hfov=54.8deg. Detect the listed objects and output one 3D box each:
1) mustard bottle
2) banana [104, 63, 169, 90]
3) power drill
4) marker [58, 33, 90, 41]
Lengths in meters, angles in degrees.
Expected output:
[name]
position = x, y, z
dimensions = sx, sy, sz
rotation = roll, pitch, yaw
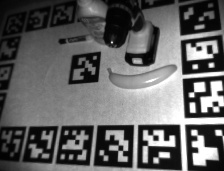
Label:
[mustard bottle]
position = -0.047, -0.189, 0.615
dimensions = 0.095, 0.193, 0.058
rotation = 8, 75, 23
[banana]
position = 0.060, -0.025, 0.609
dimensions = 0.195, 0.039, 0.074
rotation = 5, 76, 24
[power drill]
position = 0.041, -0.138, 0.546
dimensions = 0.057, 0.189, 0.184
rotation = 11, 74, 23
[marker]
position = -0.133, -0.165, 0.737
dimensions = 0.120, 0.020, 0.019
rotation = -1, 73, 20
